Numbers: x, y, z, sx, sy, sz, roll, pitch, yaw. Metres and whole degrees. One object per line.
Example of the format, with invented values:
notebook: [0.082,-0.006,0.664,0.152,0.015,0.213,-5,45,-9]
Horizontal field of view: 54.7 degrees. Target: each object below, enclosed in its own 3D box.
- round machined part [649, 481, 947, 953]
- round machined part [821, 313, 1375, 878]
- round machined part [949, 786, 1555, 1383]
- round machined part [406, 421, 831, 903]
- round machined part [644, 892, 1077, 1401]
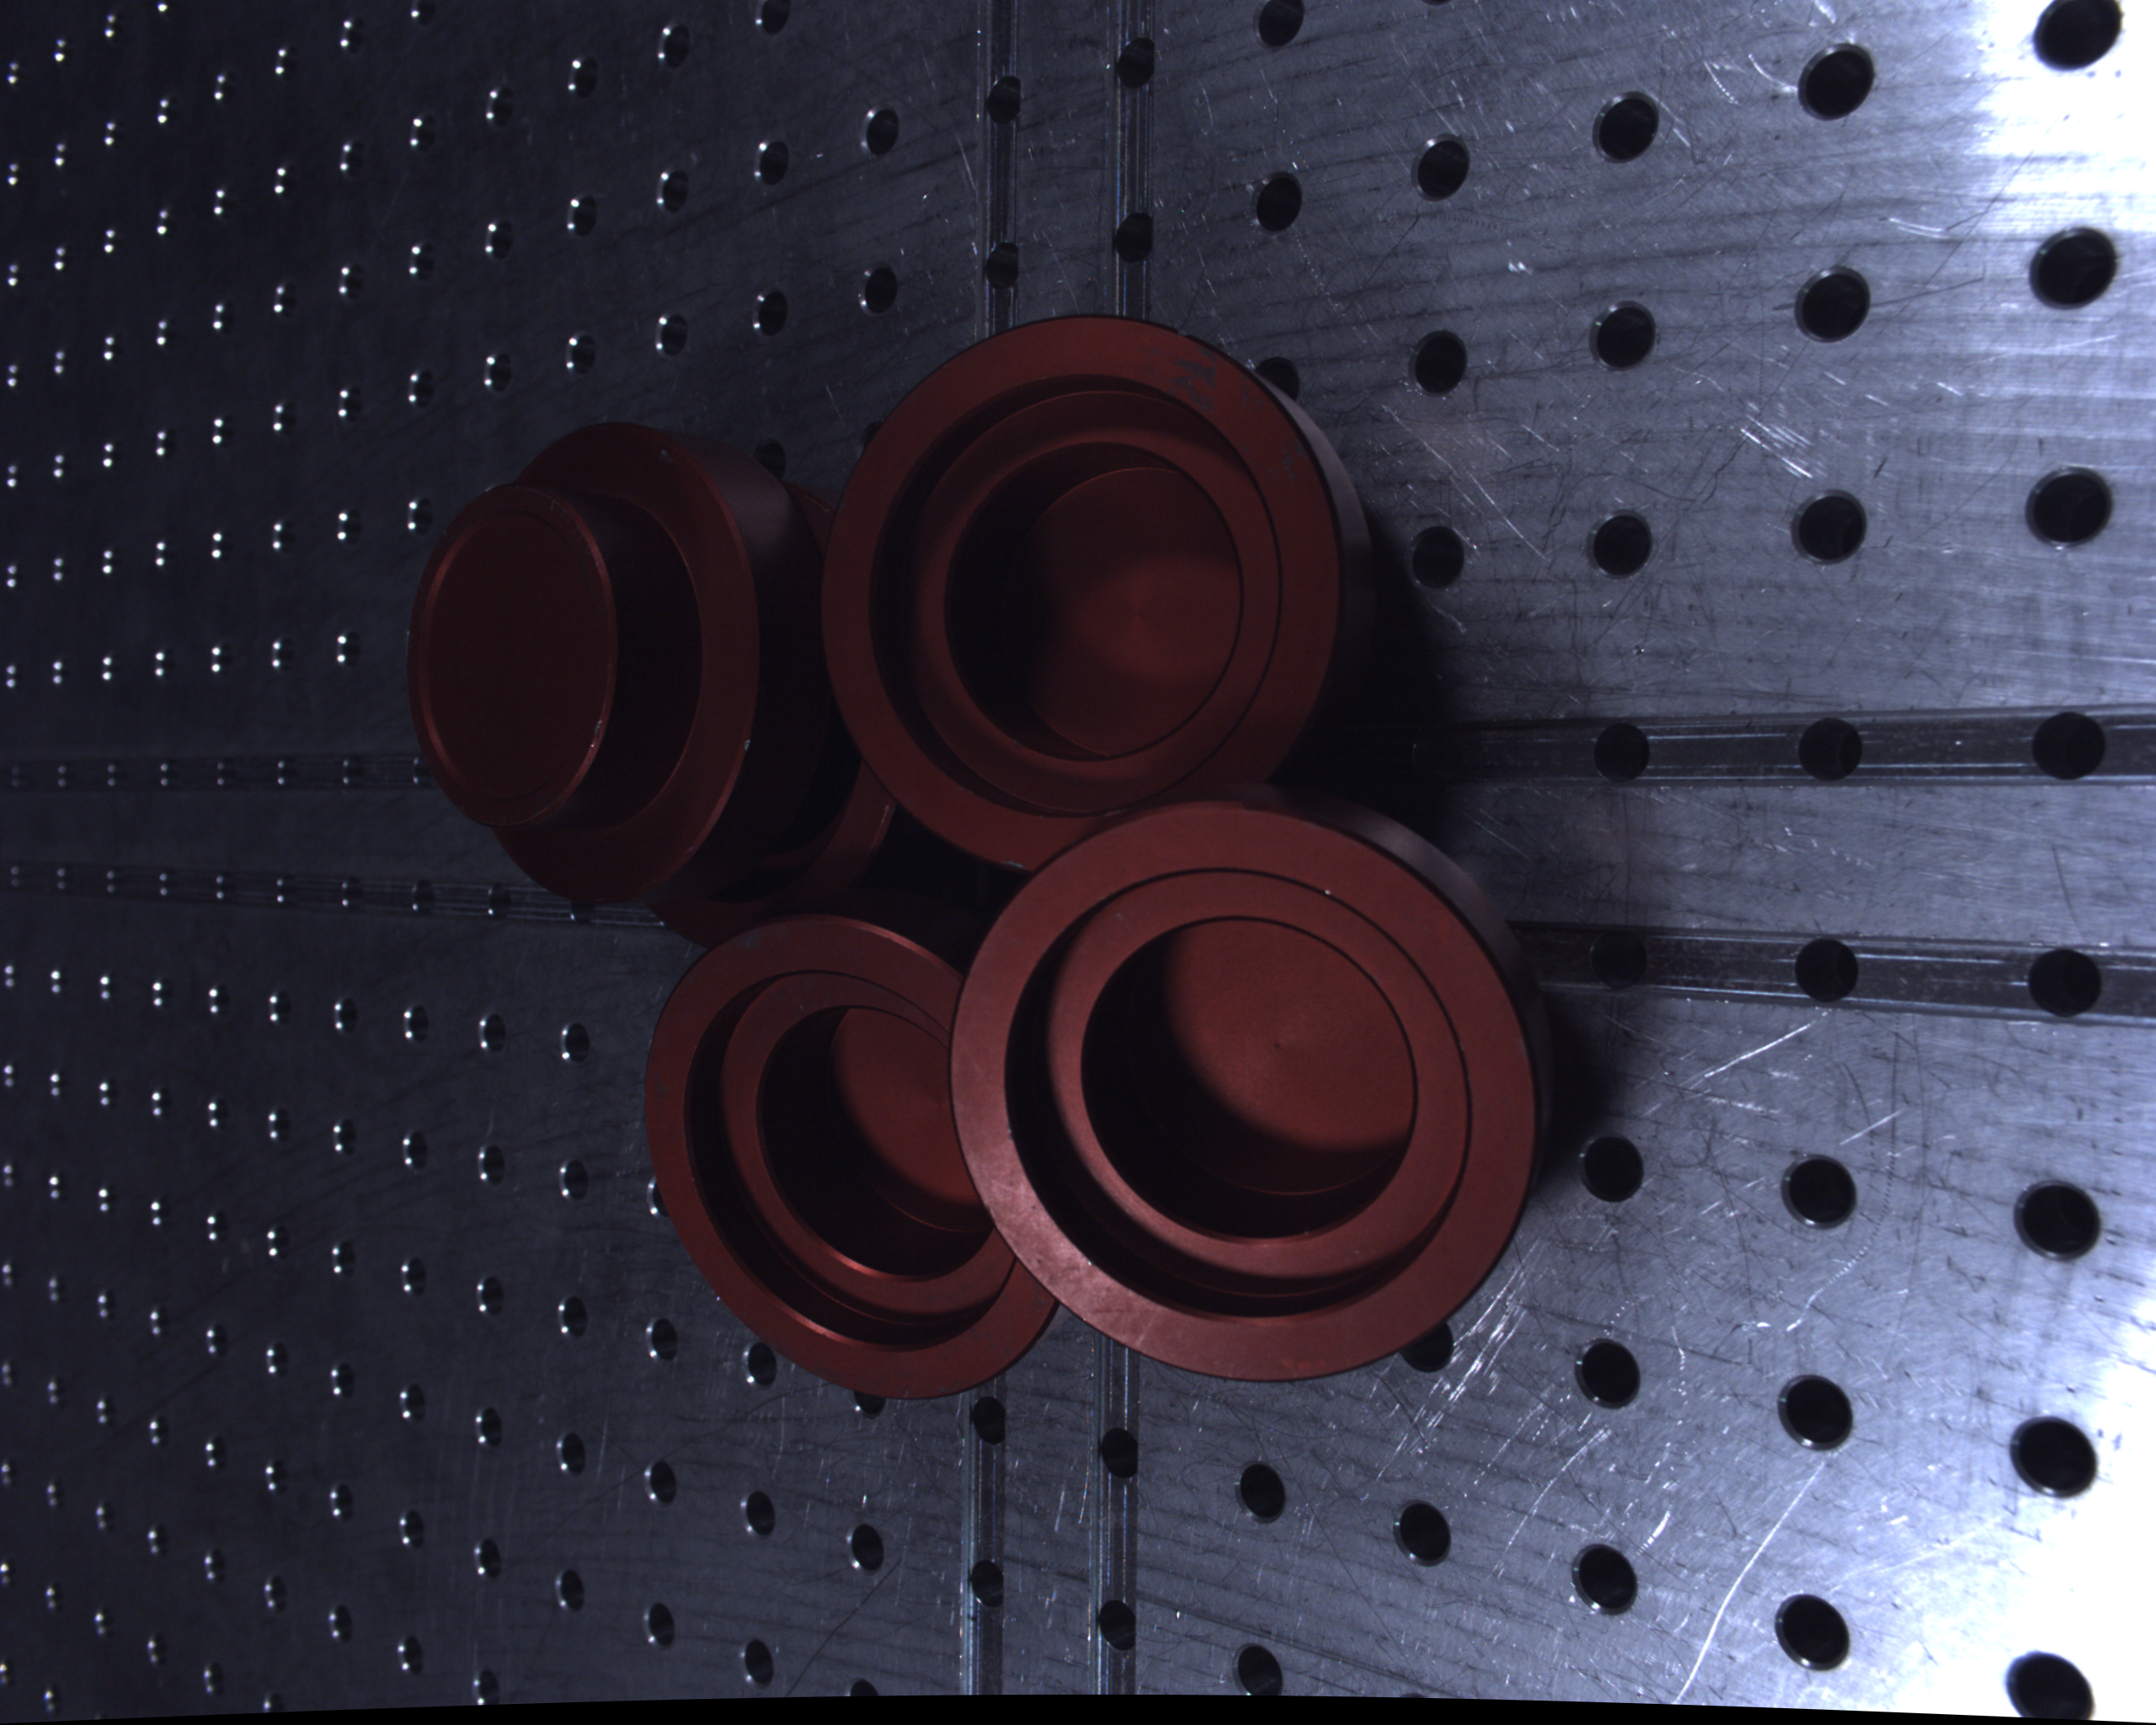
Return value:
round machined part: [-0.057,-0.030,0.442,0.098,0.042,0.097,0,90,39]
round machined part: [0.006,-0.046,0.379,0.098,0.042,0.097,1,91,23]
round machined part: [0.031,0.035,0.355,0.098,0.042,0.097,3,101,18]
round machined part: [-0.098,-0.040,0.422,0.098,0.042,0.097,0,90,39]
round machined part: [-0.034,0.052,0.413,0.098,0.042,0.097,8,108,27]
